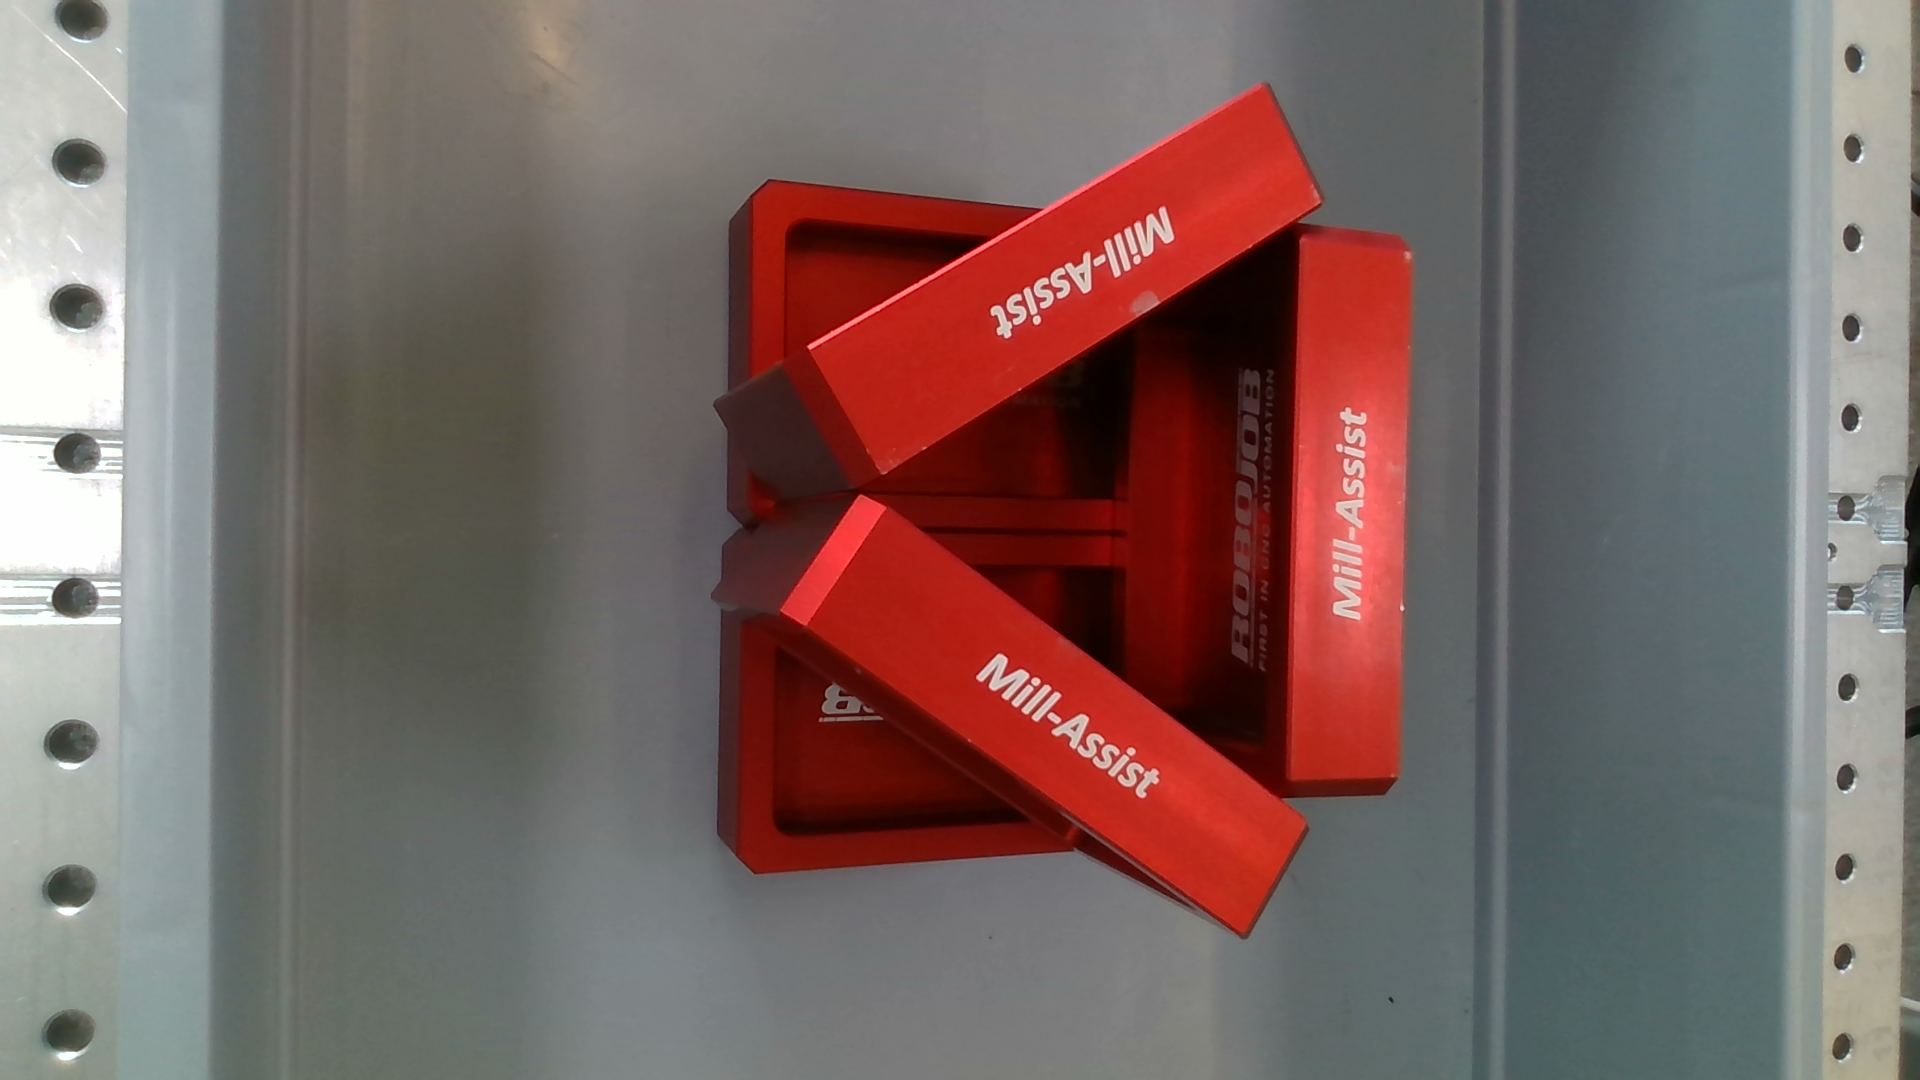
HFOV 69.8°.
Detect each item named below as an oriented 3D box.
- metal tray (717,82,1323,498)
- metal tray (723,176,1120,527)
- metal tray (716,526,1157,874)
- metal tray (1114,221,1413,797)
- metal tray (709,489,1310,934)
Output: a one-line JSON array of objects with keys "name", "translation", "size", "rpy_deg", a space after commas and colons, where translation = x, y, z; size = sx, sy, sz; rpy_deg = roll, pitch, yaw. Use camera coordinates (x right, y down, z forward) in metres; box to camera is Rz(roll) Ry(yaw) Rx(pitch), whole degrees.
[{"name": "metal tray", "translation": [0.010, -0.057, 0.329], "size": [0.130, 0.090, 0.030], "rpy_deg": [-33, 100, -17]}, {"name": "metal tray", "translation": [0.000, -0.049, 0.391], "size": [0.130, 0.030, 0.090], "rpy_deg": [0, 90, -21]}, {"name": "metal tray", "translation": [-0.001, 0.043, 0.390], "size": [0.130, 0.030, 0.090], "rpy_deg": [1, 89, -21]}, {"name": "metal tray", "translation": [0.074, -0.006, 0.352], "size": [0.030, 0.090, 0.130], "rpy_deg": [2, 89, -20]}, {"name": "metal tray", "translation": [0.008, 0.039, 0.328], "size": [0.130, 0.090, 0.030], "rpy_deg": [37, 78, -16]}]
